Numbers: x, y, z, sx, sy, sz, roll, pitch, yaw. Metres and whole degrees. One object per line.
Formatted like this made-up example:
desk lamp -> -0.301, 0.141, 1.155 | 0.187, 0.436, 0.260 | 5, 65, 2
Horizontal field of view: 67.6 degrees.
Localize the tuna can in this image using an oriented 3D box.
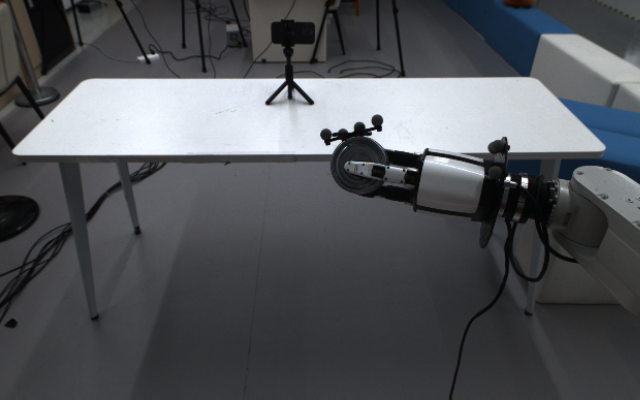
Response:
tuna can -> 0.063, -0.046, 0.717 | 0.085, 0.085, 0.034 | 12, 3, 14
